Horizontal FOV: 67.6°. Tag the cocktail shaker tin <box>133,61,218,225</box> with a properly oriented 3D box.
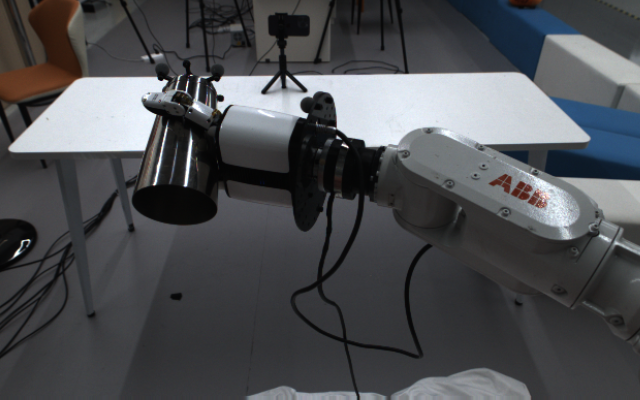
[{"bbox_3d":[-0.164,-0.066,0.576,0.093,0.093,0.170,0,59,-3],"label":"cocktail shaker tin"}]
